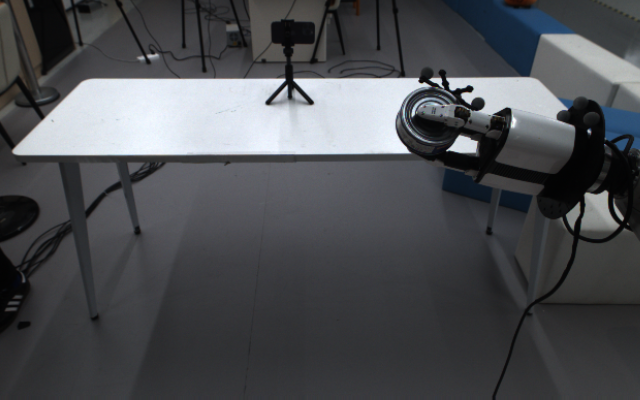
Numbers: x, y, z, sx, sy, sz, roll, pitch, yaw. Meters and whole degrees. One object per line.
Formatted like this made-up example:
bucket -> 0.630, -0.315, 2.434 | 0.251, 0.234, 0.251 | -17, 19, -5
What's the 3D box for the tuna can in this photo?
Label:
tuna can -> 0.150, -0.098, 0.638 | 0.085, 0.034, 0.085 | 0, 74, 0
